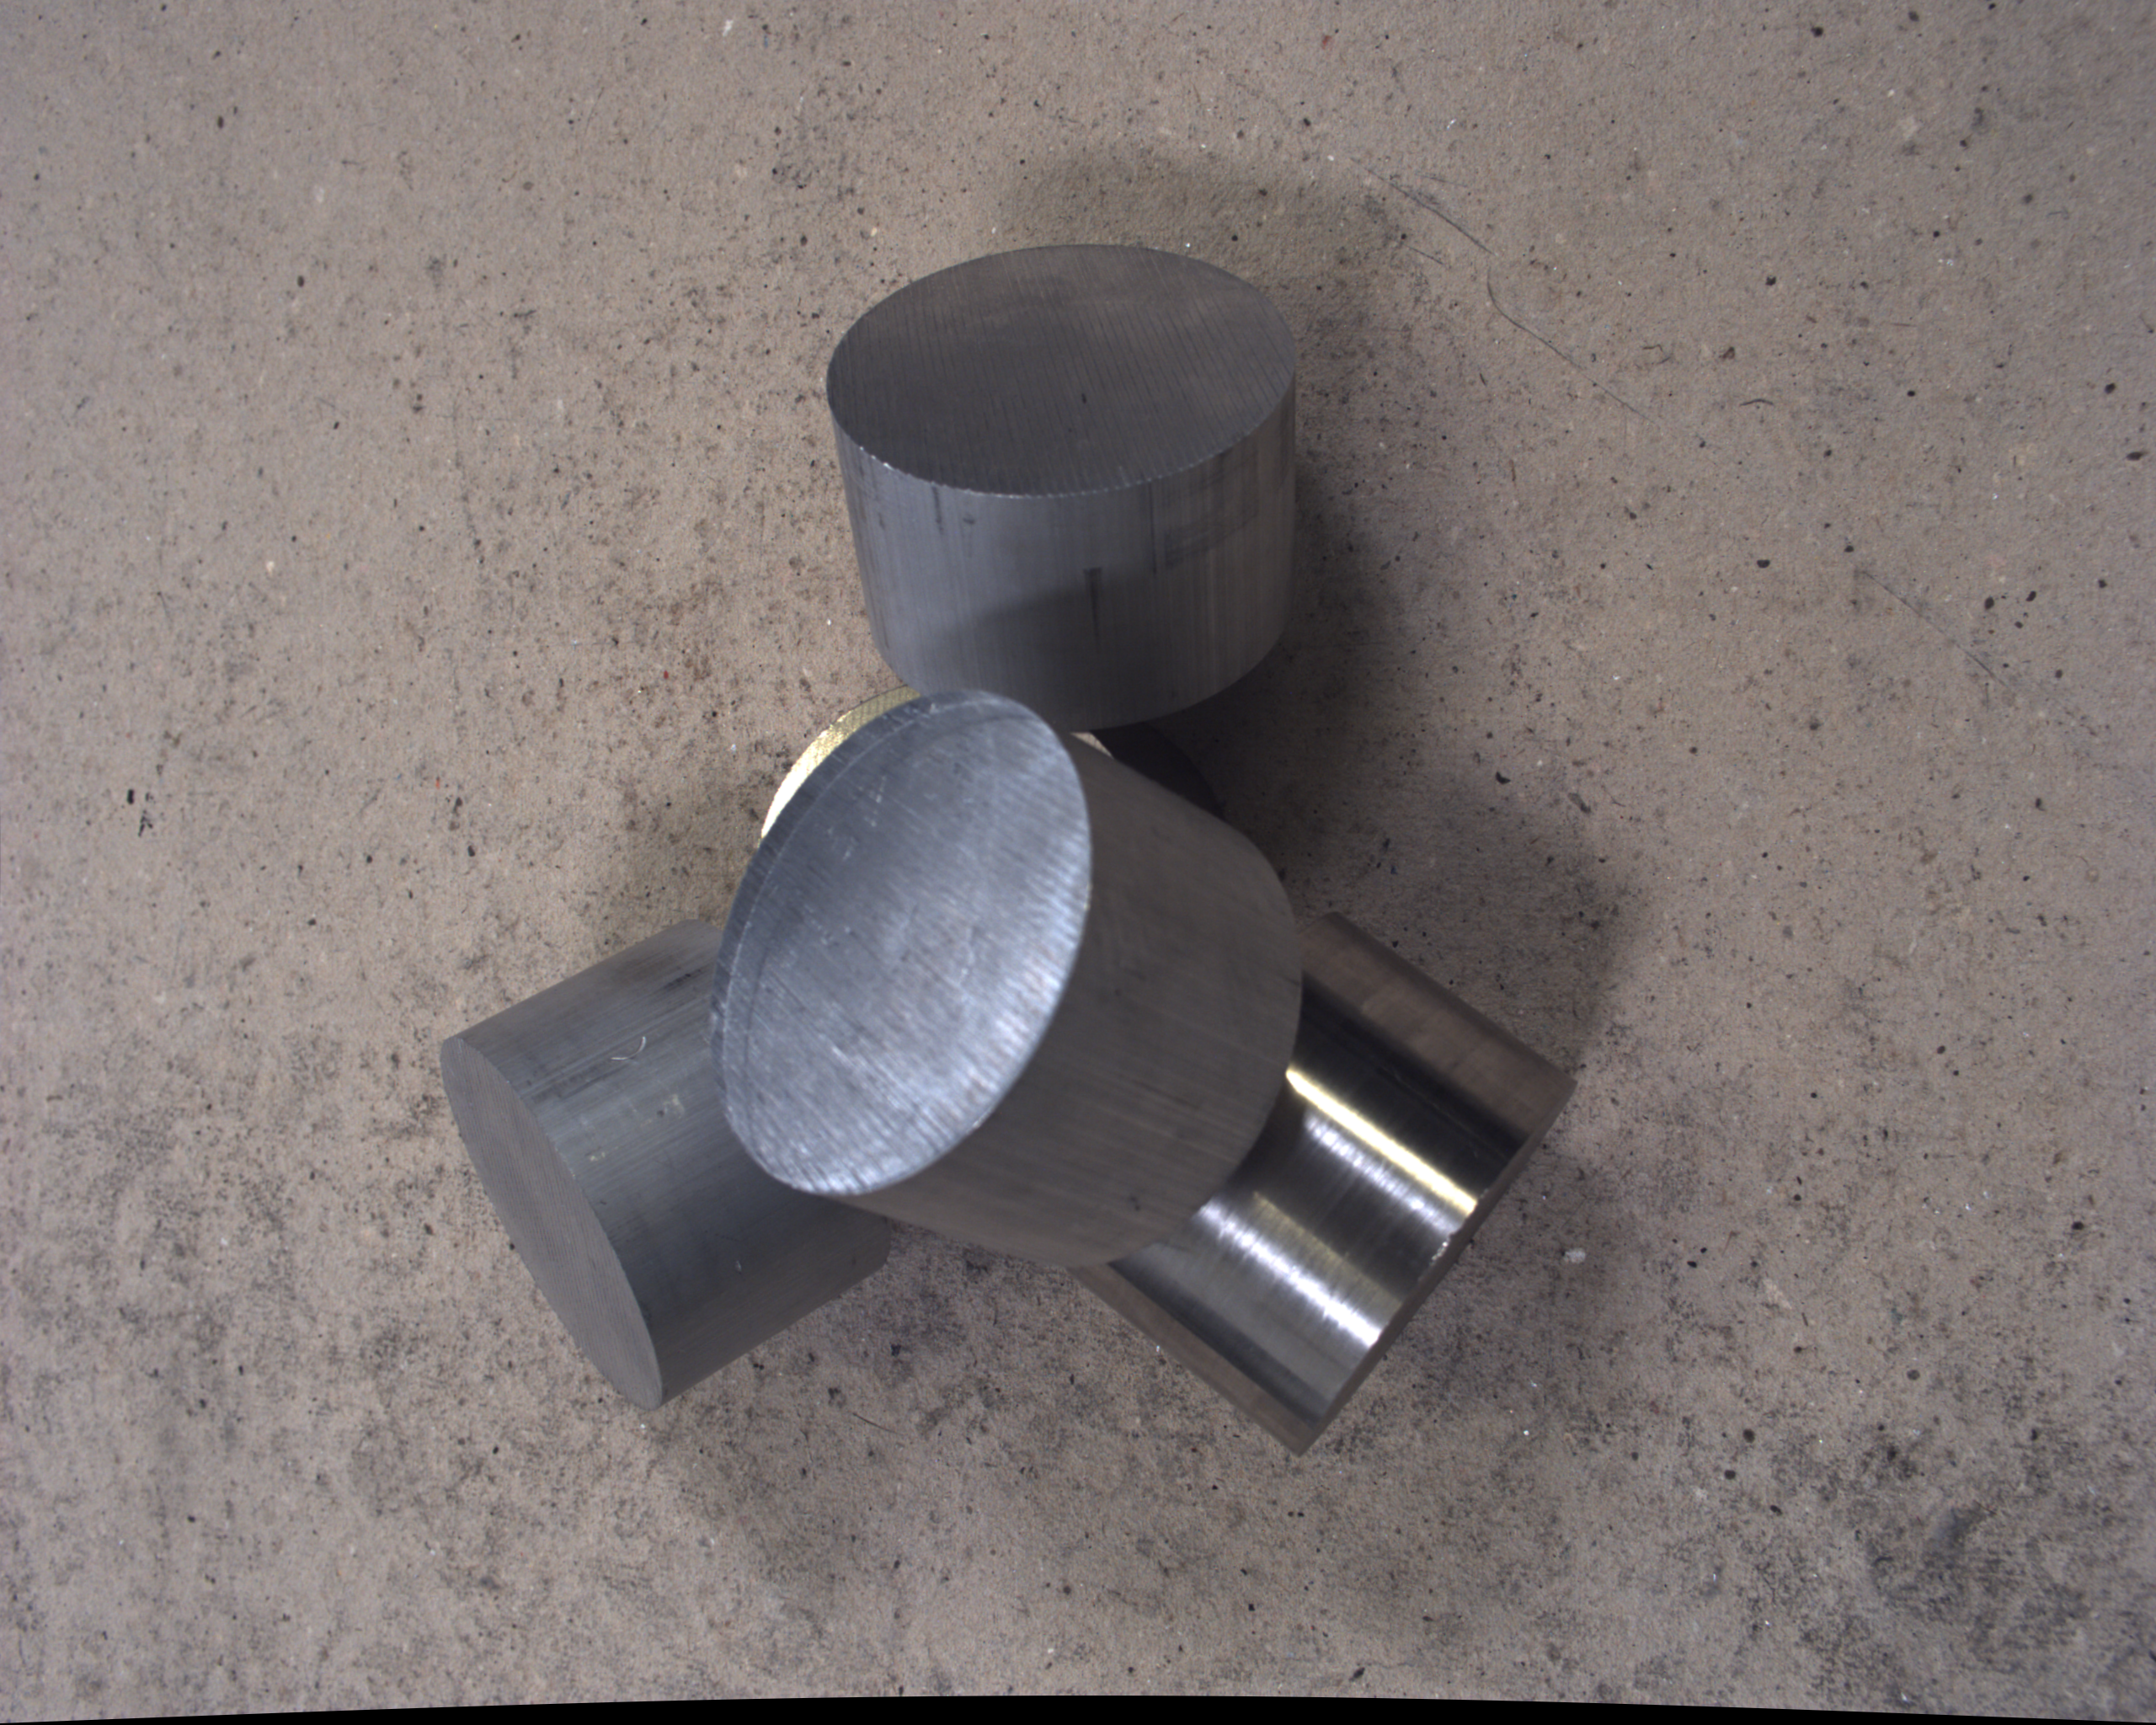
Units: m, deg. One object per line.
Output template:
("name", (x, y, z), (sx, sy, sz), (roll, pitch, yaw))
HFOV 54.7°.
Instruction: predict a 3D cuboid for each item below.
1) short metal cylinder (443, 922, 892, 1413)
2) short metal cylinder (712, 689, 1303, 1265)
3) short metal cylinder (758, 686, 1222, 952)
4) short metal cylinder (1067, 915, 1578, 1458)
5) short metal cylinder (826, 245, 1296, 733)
("short metal cylinder", (-0.080, 0.058, 0.403), (0.080, 0.050, 0.079), (38, 144, 36))
("short metal cylinder", (-0.012, 0.019, 0.330), (0.080, 0.050, 0.080), (-21, 56, 36))
("short metal cylinder", (-0.015, 0.006, 0.402), (0.080, 0.050, 0.080), (0, 89, 19))
("short metal cylinder", (0.043, 0.056, 0.366), (0.050, 0.080, 0.080), (36, 102, 16))
("short metal cylinder", (-0.001, -0.068, 0.375), (0.080, 0.080, 0.050), (15, 138, 19))
